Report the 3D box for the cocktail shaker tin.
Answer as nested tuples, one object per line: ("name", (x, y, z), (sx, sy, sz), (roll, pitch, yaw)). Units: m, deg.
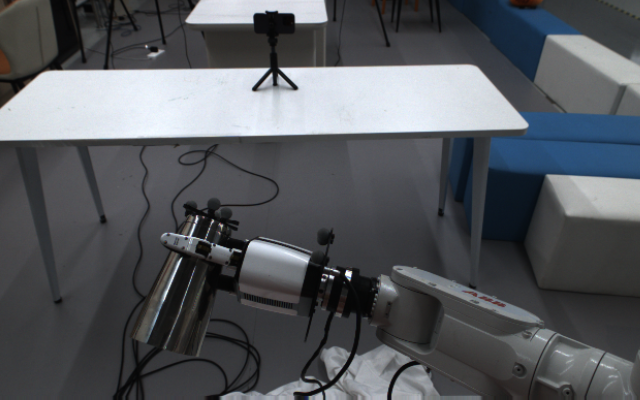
("cocktail shaker tin", (-0.178, 0.107, 0.644), (0.093, 0.093, 0.170), (13, 71, 15))
